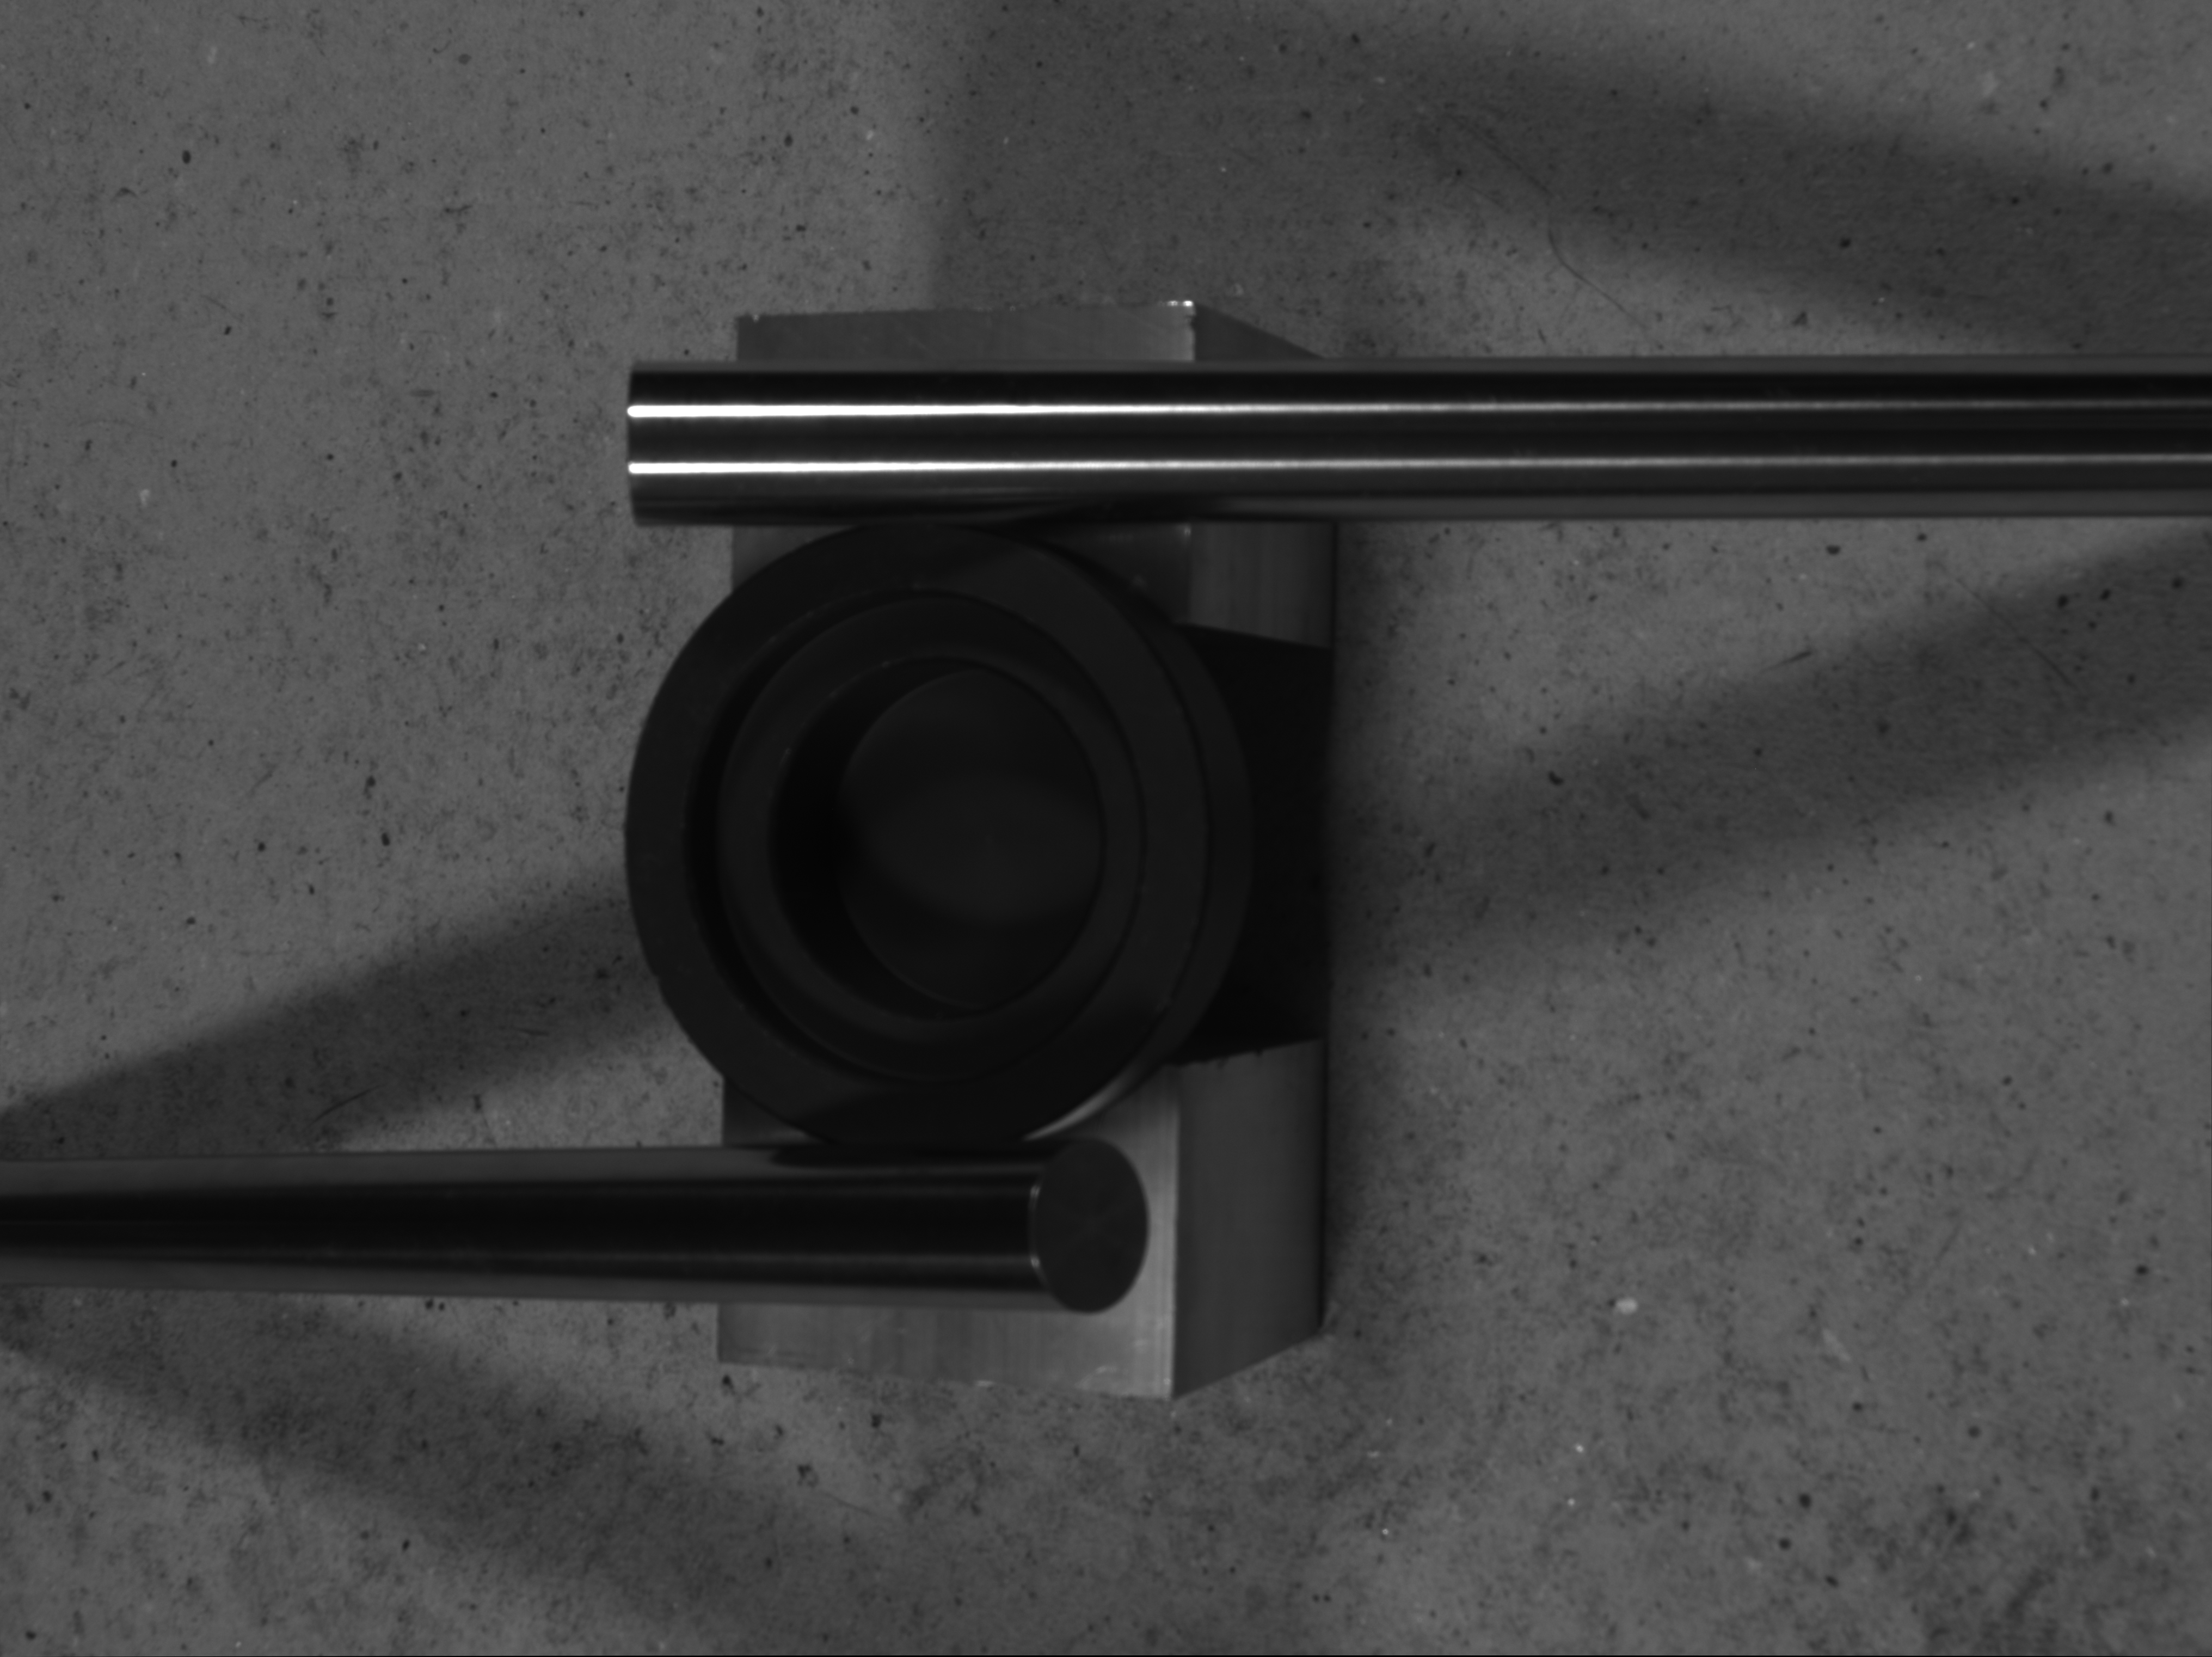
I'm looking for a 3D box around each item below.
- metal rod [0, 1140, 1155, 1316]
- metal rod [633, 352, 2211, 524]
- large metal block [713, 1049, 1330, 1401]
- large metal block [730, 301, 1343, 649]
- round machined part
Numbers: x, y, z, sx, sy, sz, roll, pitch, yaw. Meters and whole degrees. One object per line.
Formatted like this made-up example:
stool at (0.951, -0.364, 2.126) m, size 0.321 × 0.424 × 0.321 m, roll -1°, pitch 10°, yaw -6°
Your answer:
metal rod at (-0.111, 0.067, 0.625) m, size 0.299 × 0.025 × 0.025 m, roll -5°, pitch 88°, yaw 43°
metal rod at (0.080, -0.060, 0.559) m, size 0.300 × 0.025 × 0.025 m, roll -1°, pitch 90°, yaw -2°
large metal block at (-0.012, 0.063, 0.619) m, size 0.080 × 0.080 × 0.050 m, roll 1°, pitch 90°, yaw 20°
large metal block at (-0.010, -0.057, 0.619) m, size 0.080 × 0.080 × 0.050 m, roll 1°, pitch 90°, yaw 20°
round machined part at (-0.023, 0.002, 0.581) m, size 0.098 × 0.042 × 0.098 m, roll 0°, pitch 90°, yaw 20°
